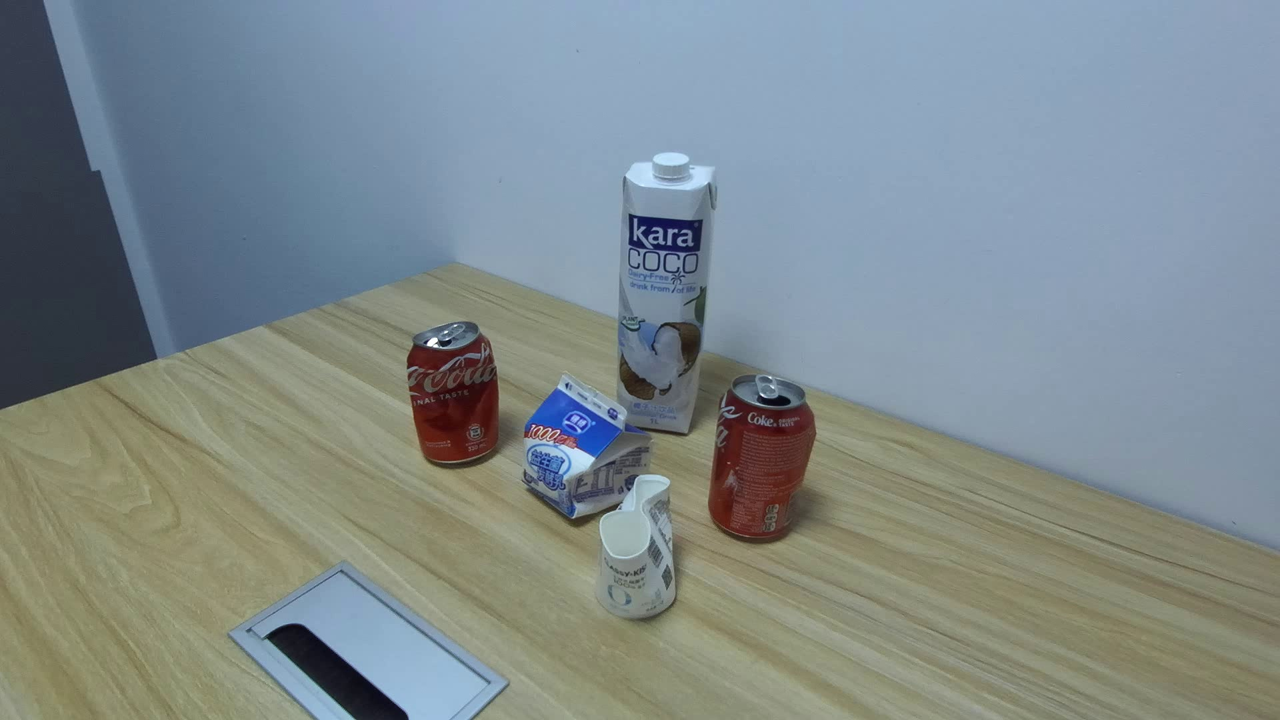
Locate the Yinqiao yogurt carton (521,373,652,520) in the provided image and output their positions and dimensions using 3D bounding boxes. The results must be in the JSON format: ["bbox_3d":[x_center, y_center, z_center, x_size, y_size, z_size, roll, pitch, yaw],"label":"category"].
[{"bbox_3d":[-0.042,0.065,0.546,0.074,0.097,0.080,25,27,38],"label":"Yinqiao yogurt carton"}]

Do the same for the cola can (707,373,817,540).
[{"bbox_3d":[0.085,0.071,0.522,0.072,0.117,0.066,20,34,29],"label":"cola can"}]

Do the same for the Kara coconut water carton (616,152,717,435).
[{"bbox_3d":[0.021,-0.056,0.617,0.077,0.245,0.075,6,26,8],"label":"Kara coconut water carton"}]

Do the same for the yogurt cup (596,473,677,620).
[{"bbox_3d":[-0.001,0.124,0.460,0.054,0.071,0.075,-2,30,-9],"label":"yogurt cup"}]

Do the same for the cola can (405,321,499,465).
[{"bbox_3d":[-0.155,0.027,0.596,0.069,0.112,0.065,-4,28,-11],"label":"cola can"}]
